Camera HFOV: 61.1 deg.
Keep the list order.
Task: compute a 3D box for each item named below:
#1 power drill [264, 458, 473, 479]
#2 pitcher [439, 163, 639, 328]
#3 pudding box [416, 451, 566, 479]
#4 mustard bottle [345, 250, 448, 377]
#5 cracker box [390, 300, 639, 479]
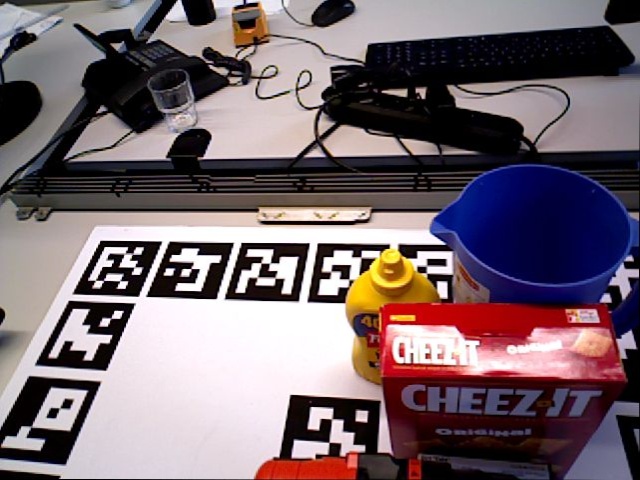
[{"bbox_3d":[0.060,0.212,0.374,0.185,0.190,0.056,0,46,10],"label":"power drill"},{"bbox_3d":[0.203,0.061,0.489,0.189,0.247,0.130,5,50,17],"label":"pitcher"},{"bbox_3d":[0.138,0.212,0.451,0.114,0.091,0.038,0,47,14],"label":"pudding box"},{"bbox_3d":[0.074,0.067,0.525,0.096,0.195,0.057,12,53,19],"label":"mustard bottle"},{"bbox_3d":[0.145,0.140,0.440,0.164,0.217,0.070,-2,47,12],"label":"cracker box"}]
